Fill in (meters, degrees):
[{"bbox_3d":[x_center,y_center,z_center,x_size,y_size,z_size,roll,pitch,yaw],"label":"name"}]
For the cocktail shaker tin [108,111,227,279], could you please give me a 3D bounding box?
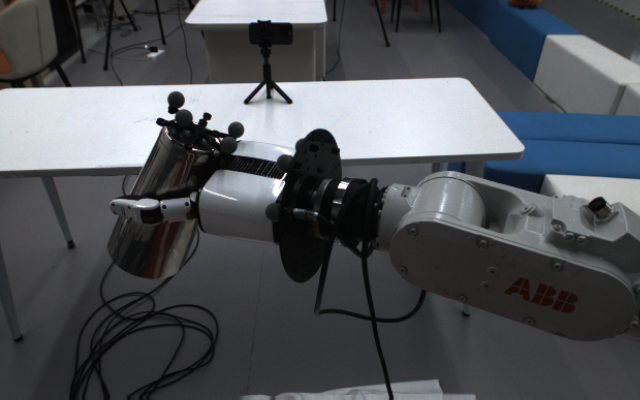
[{"bbox_3d":[-0.169,-0.005,0.552,0.093,0.170,0.093,25,29,-15],"label":"cocktail shaker tin"}]
